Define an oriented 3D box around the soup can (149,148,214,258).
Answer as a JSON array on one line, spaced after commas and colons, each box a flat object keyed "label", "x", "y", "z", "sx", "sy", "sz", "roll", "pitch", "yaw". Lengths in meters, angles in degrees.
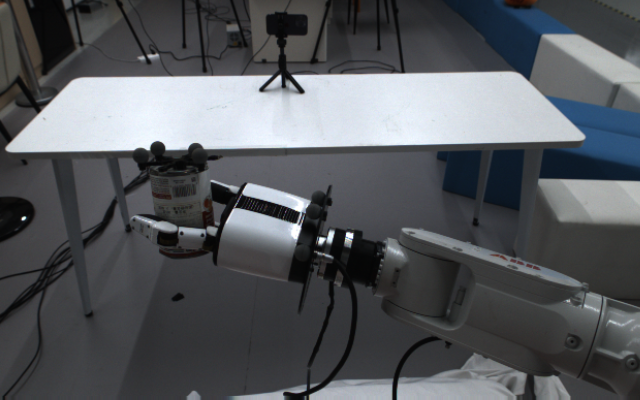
[{"label": "soup can", "x": -0.157, "y": 0.011, "z": 0.564, "sx": 0.067, "sy": 0.101, "sz": 0.067, "roll": -2, "pitch": 17, "yaw": 0}]
